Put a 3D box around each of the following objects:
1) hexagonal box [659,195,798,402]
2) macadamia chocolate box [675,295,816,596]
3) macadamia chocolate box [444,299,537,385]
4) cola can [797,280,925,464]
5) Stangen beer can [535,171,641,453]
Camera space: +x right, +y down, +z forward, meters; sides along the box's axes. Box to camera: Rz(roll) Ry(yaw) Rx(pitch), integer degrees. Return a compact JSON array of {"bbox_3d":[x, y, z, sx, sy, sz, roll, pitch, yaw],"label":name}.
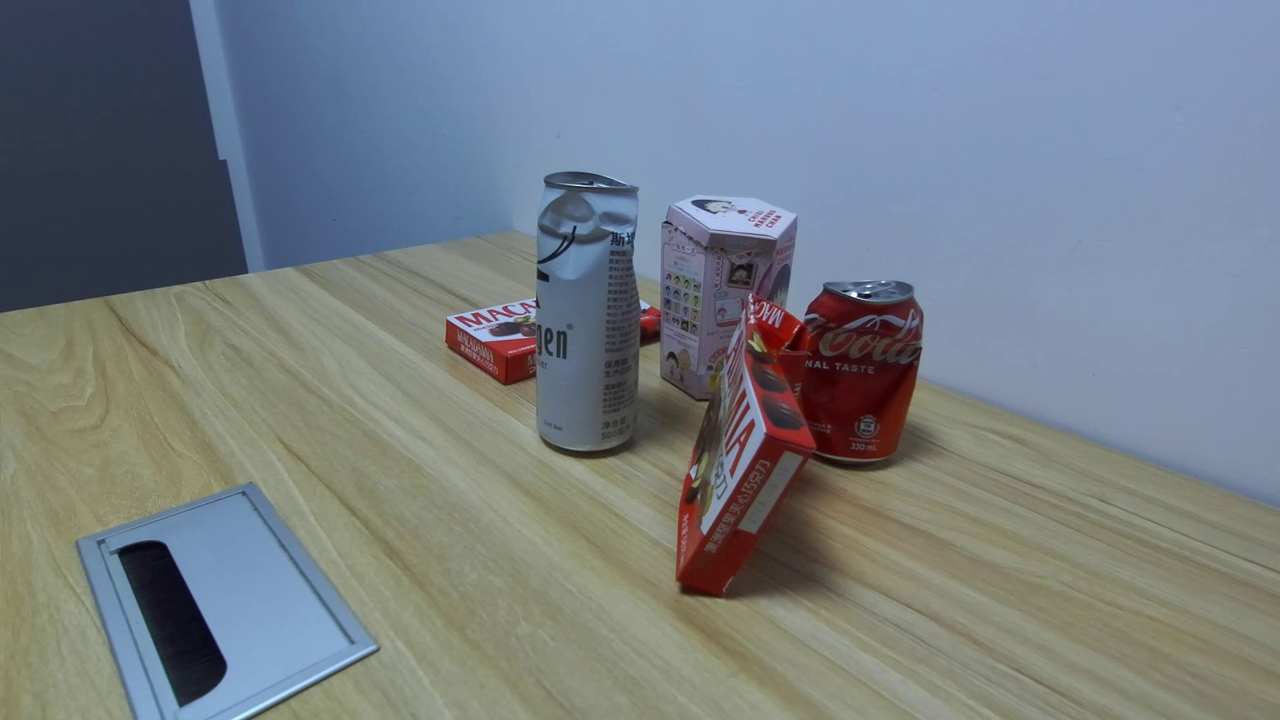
[{"bbox_3d":[0.062,-0.046,0.522,0.084,0.135,0.092,15,27,24],"label":"hexagonal box"},{"bbox_3d":[0.053,0.039,0.362,0.056,0.112,0.126,6,25,7],"label":"macadamia chocolate box"},{"bbox_3d":[-0.060,-0.028,0.609,0.187,0.027,0.102,-18,35,-39],"label":"macadamia chocolate box"},{"bbox_3d":[0.138,0.006,0.444,0.069,0.112,0.066,13,26,21],"label":"cola can"},{"bbox_3d":[-0.030,-0.027,0.434,0.066,0.166,0.066,9,25,13],"label":"Stangen beer can"}]
